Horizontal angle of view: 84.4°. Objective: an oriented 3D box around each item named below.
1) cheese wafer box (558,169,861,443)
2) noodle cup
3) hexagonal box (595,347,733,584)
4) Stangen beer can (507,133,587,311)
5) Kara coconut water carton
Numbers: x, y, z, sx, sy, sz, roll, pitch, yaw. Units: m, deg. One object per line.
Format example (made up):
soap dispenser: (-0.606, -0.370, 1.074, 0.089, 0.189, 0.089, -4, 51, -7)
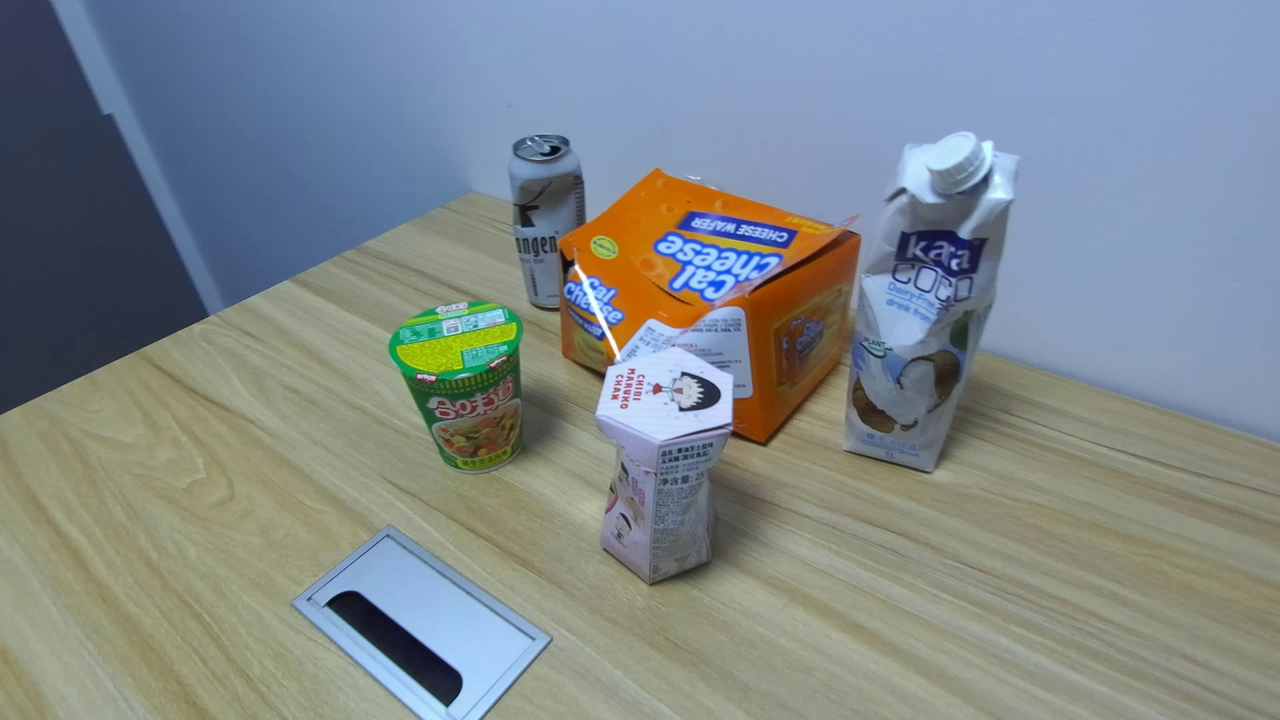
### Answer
cheese wafer box: (0.048, -0.052, 0.608, 0.218, 0.145, 0.192, 24, 44, 30)
noodle cup: (-0.133, 0.027, 0.548, 0.097, 0.110, 0.097, 0, 37, 1)
hexagonal box: (0.018, 0.069, 0.460, 0.091, 0.134, 0.089, -29, 47, -31)
Stangen beer can: (-0.089, -0.134, 0.703, 0.070, 0.173, 0.070, 24, 46, 30)
Kara coconut water carton: (0.195, -0.037, 0.488, 0.083, 0.256, 0.078, 23, 46, 30)
